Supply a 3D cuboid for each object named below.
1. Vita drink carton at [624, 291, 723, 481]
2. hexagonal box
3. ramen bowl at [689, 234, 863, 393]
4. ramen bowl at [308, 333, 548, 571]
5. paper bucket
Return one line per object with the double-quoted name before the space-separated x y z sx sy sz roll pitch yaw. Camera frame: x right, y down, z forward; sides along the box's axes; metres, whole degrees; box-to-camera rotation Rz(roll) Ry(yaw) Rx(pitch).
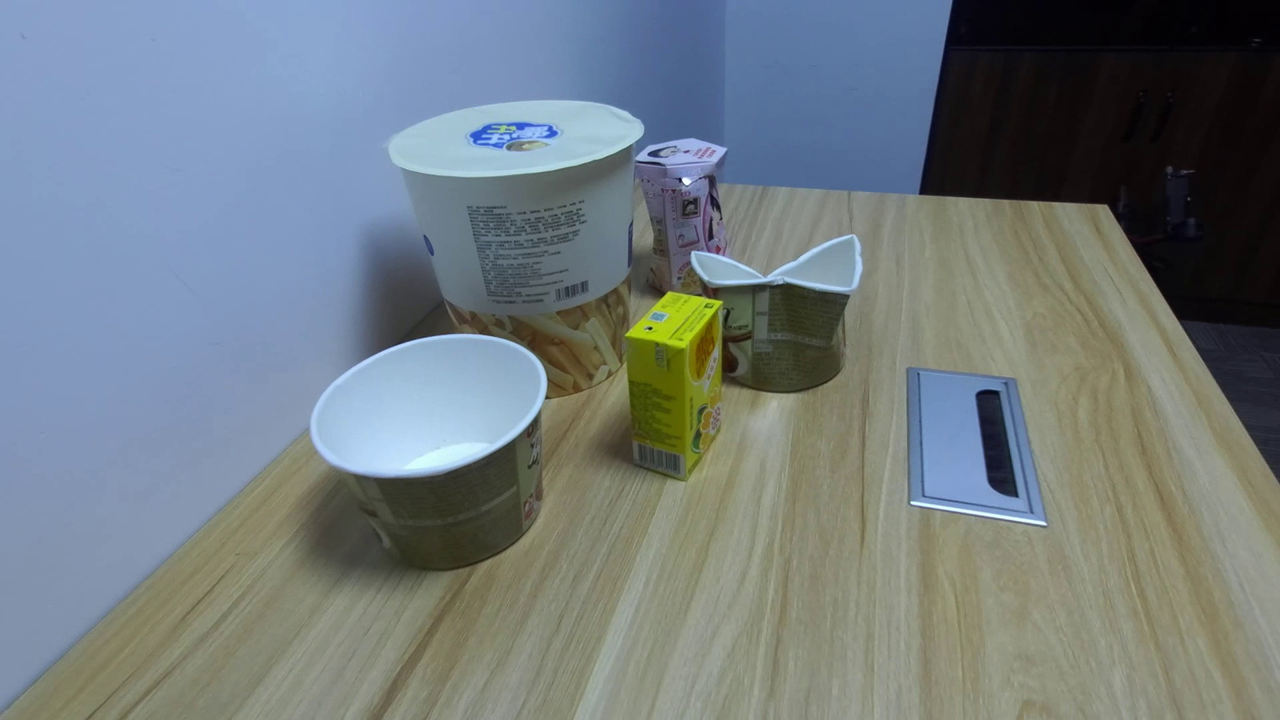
"Vita drink carton" 0.025 0.017 0.479 0.043 0.109 0.067 14 37 24
"hexagonal box" 0.042 -0.135 0.686 0.091 0.135 0.089 -21 34 -22
"ramen bowl" 0.108 -0.043 0.575 0.128 0.093 0.111 4 35 11
"ramen bowl" -0.123 0.059 0.449 0.140 0.095 0.140 -2 34 2
"paper bucket" -0.084 -0.087 0.573 0.198 0.195 0.198 -2 33 2
